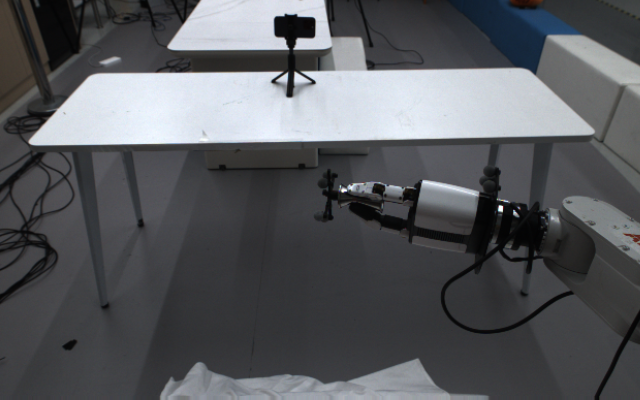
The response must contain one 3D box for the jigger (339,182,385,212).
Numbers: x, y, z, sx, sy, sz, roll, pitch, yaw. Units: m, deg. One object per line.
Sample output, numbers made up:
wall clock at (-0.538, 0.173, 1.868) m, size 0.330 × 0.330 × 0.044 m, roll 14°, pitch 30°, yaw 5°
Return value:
jigger at (0.071, -0.009, 0.756) m, size 0.071 × 0.043 × 0.043 m, roll 4°, pitch 34°, yaw 12°
